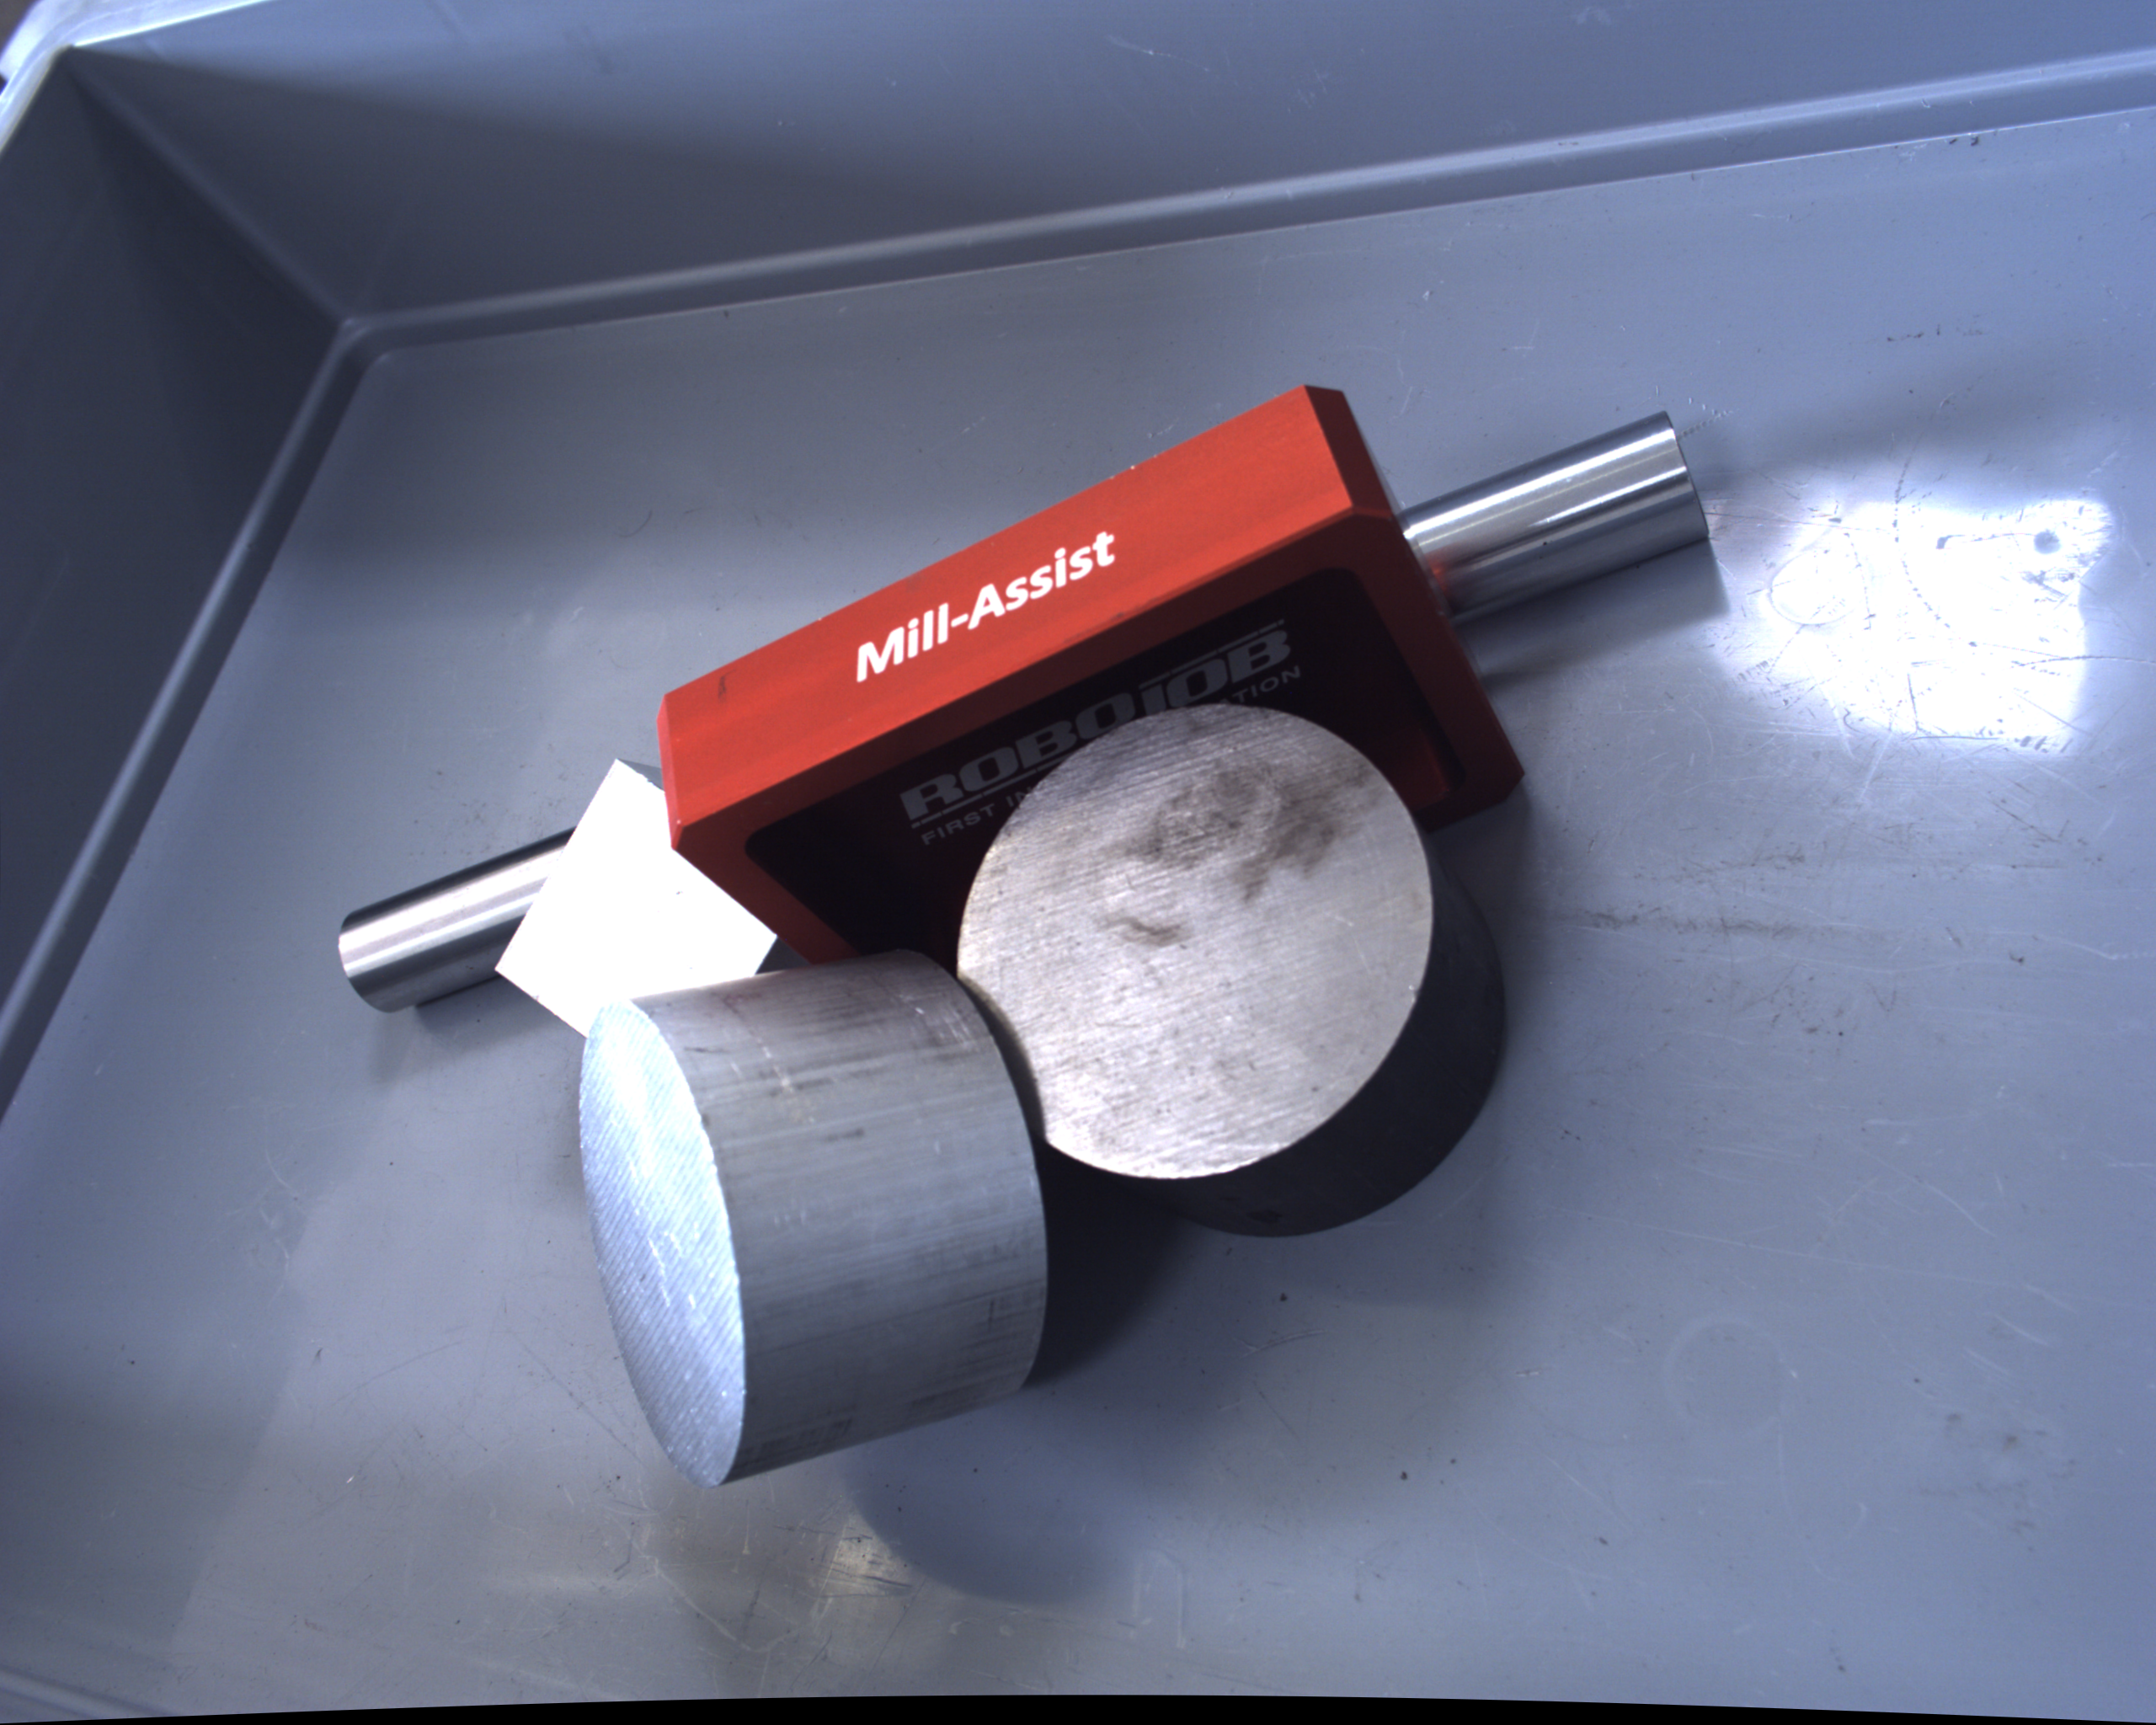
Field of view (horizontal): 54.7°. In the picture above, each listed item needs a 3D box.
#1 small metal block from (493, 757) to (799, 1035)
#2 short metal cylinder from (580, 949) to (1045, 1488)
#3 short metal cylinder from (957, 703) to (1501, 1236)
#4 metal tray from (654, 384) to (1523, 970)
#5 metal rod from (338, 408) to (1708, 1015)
[{"bbox_3d":[-0.081,0.014,0.421,0.050,0.025,0.050,33,96,19],"label":"small metal block"},{"bbox_3d":[-0.047,0.058,0.348,0.050,0.079,0.080,-9,45,-28],"label":"short metal cylinder"},{"bbox_3d":[0.027,0.019,0.355,0.080,0.050,0.080,-8,67,21],"label":"short metal cylinder"},{"bbox_3d":[0.004,-0.021,0.373,0.130,0.090,0.030,-24,53,13],"label":"metal tray"},{"bbox_3d":[-0.023,-0.025,0.431,0.301,0.025,0.025,-19,54,16],"label":"metal rod"}]
